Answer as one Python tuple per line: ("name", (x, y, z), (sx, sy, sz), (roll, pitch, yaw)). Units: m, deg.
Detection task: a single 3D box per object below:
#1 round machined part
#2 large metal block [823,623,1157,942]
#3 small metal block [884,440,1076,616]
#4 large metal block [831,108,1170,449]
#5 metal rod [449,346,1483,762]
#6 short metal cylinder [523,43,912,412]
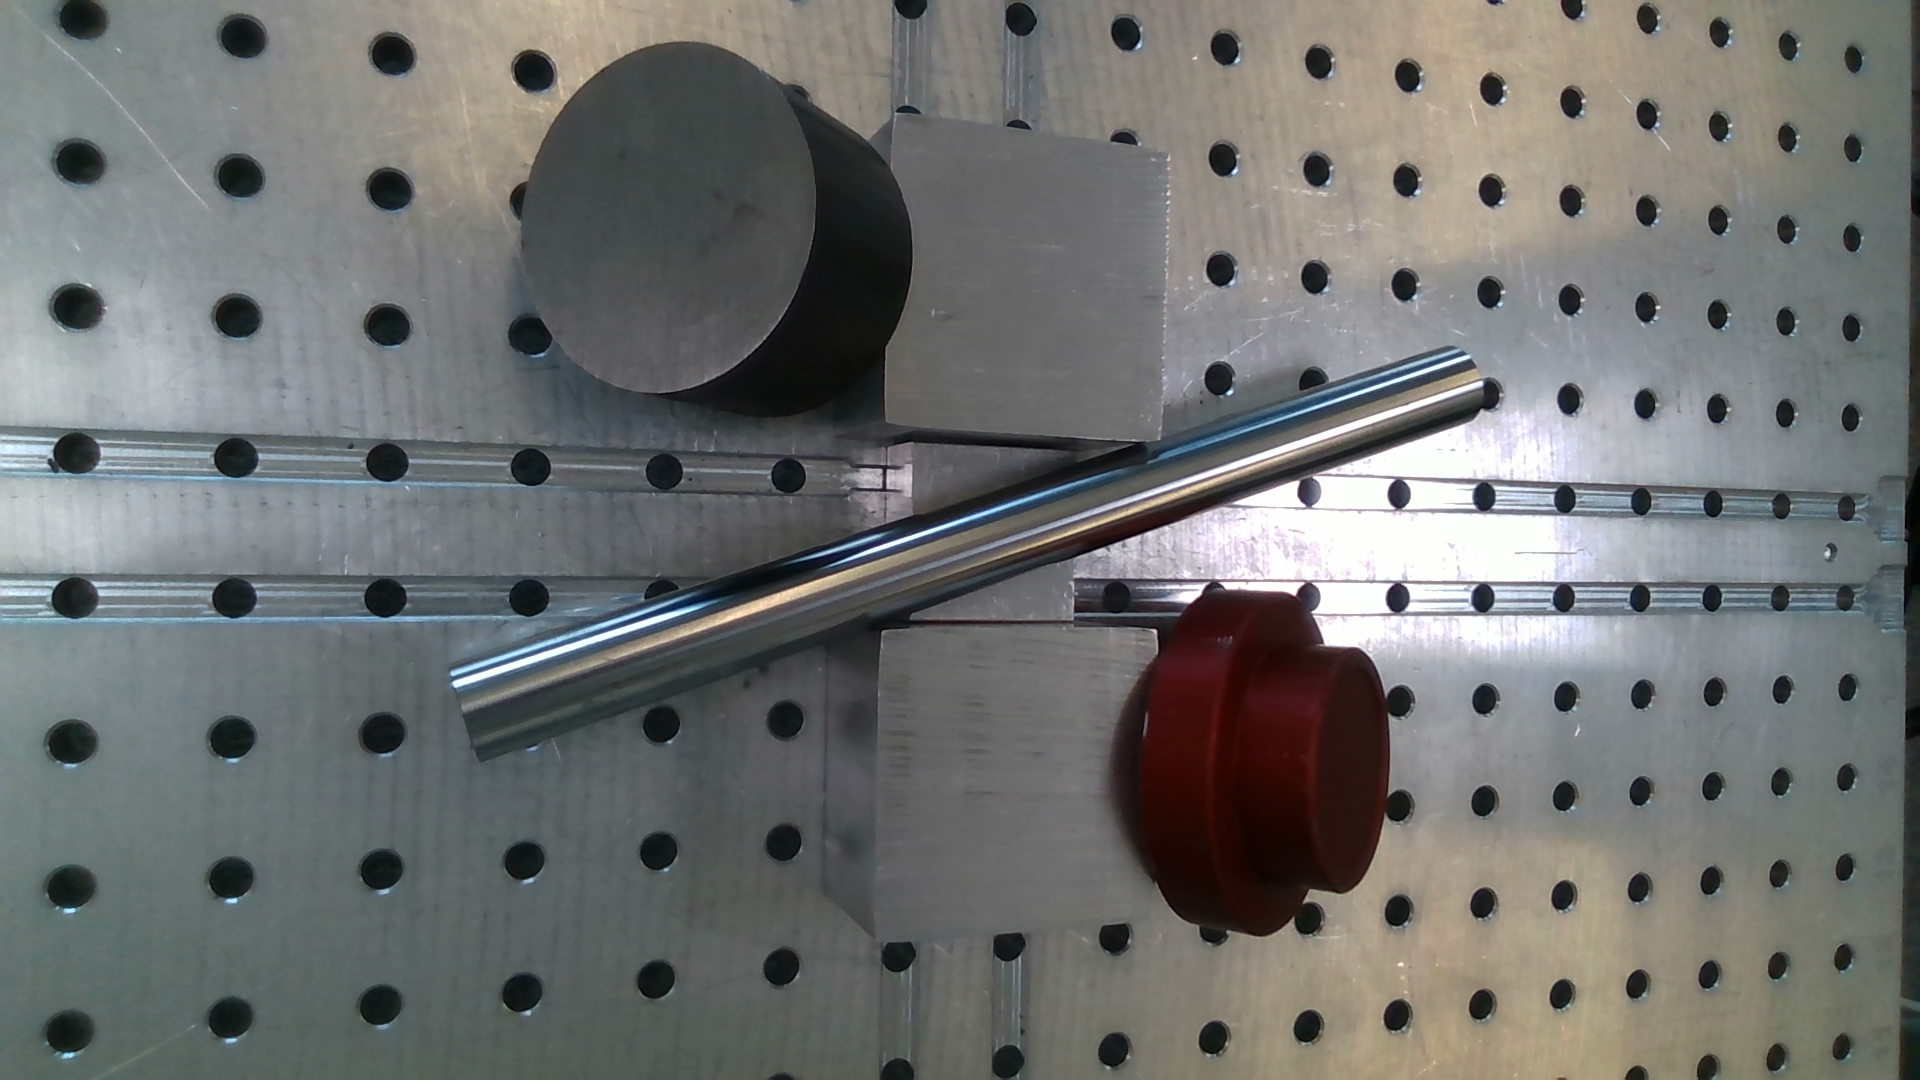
("round machined part", (0.092, 0.063, 0.395), (0.098, 0.042, 0.098), (-1, 91, -55))
("large metal block", (0.007, 0.063, 0.387), (0.080, 0.050, 0.080), (1, 90, -20))
("small metal block", (0.005, -0.002, 0.399), (0.050, 0.025, 0.050), (1, 90, -20))
("large metal block", (0.010, -0.069, 0.388), (0.080, 0.050, 0.080), (2, 89, -20))
("metal rod", (0.017, -0.003, 0.375), (0.300, 0.025, 0.025), (-18, 96, -19))
("short metal cylinder", (-0.059, -0.073, 0.339), (0.080, 0.050, 0.080), (-1, 89, 23))
